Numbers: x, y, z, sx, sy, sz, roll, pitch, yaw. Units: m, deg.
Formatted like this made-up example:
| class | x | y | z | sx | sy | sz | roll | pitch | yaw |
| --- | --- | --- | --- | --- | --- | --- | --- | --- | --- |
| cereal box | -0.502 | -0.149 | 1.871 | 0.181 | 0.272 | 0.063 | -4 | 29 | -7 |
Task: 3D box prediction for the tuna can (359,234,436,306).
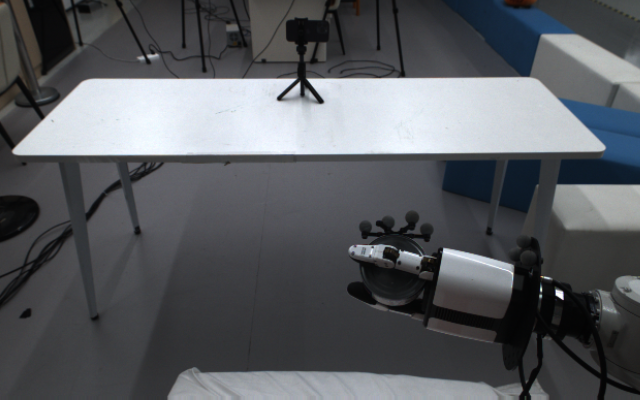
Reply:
| class | x | y | z | sx | sy | sz | roll | pitch | yaw |
| --- | --- | --- | --- | --- | --- | --- | --- | --- | --- |
| tuna can | 0.096 | 0.086 | 0.611 | 0.085 | 0.034 | 0.085 | -4 | 60 | 8 |
